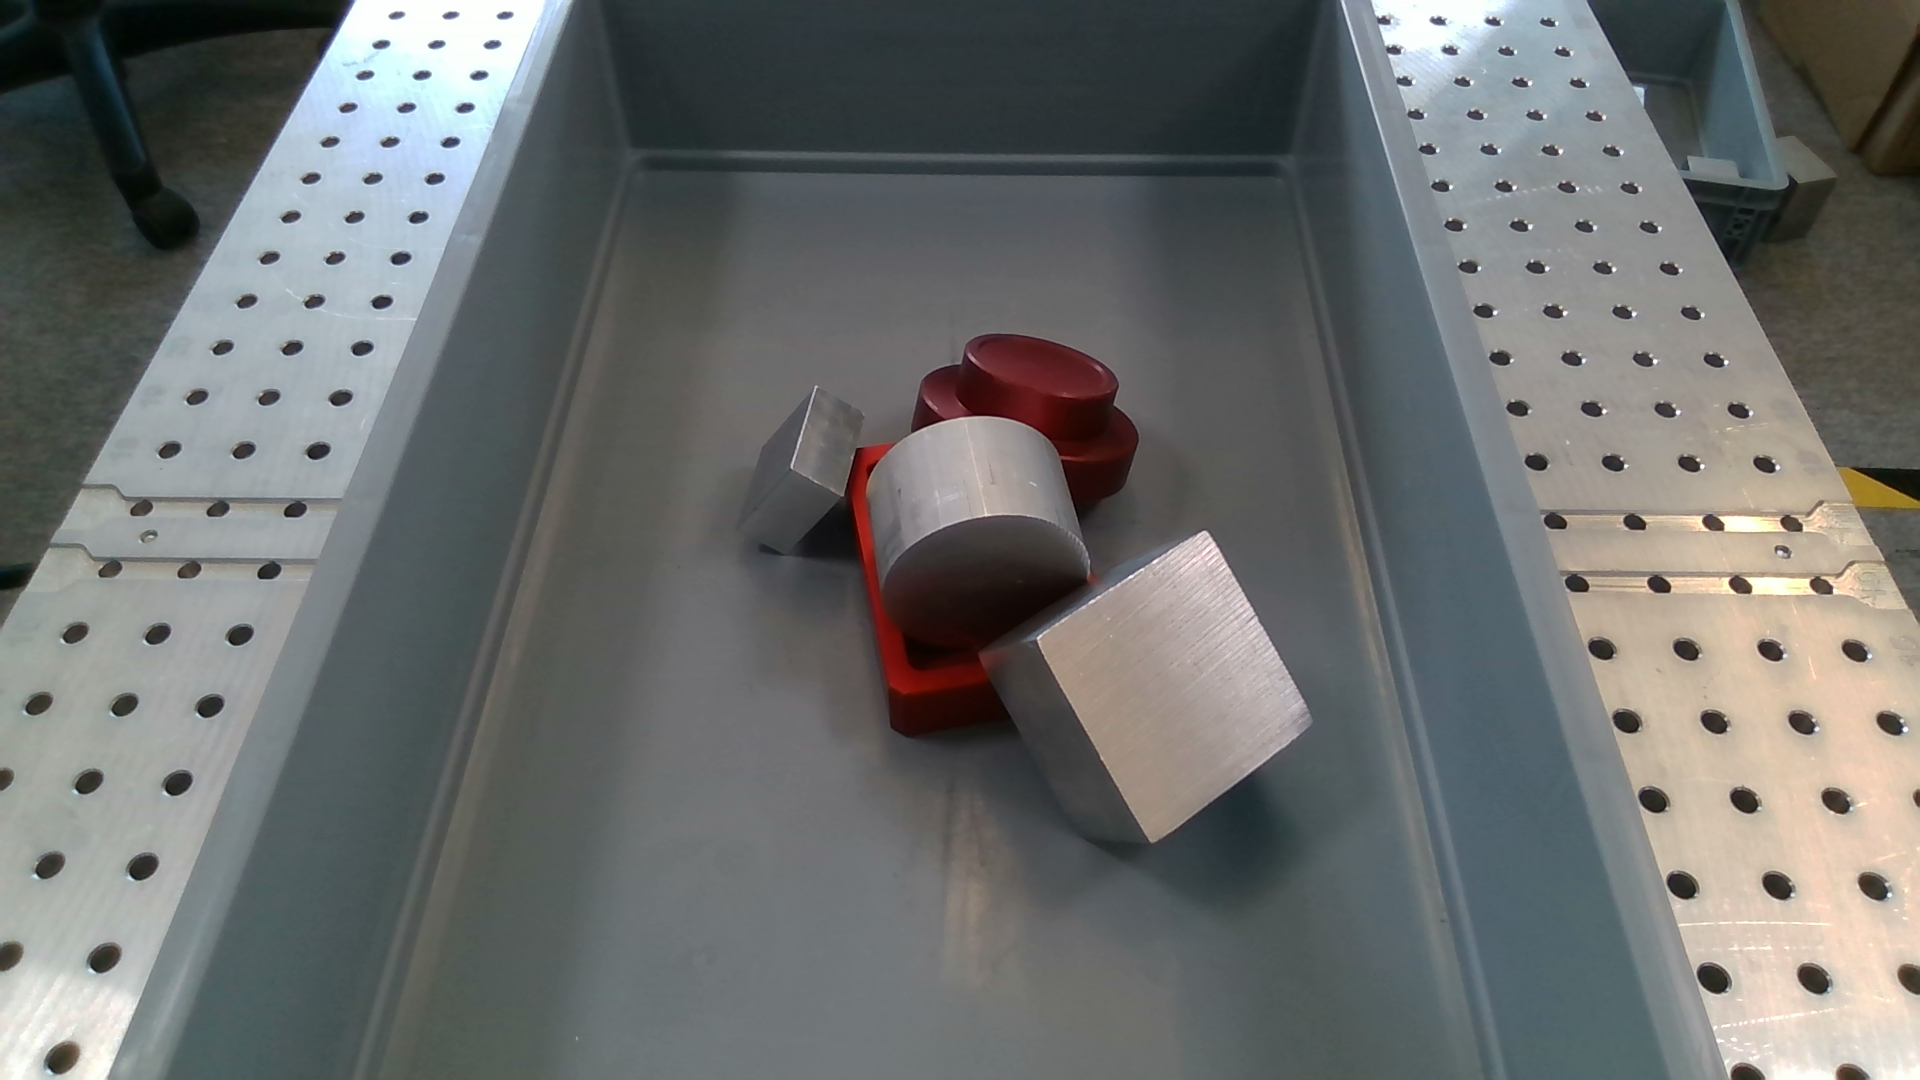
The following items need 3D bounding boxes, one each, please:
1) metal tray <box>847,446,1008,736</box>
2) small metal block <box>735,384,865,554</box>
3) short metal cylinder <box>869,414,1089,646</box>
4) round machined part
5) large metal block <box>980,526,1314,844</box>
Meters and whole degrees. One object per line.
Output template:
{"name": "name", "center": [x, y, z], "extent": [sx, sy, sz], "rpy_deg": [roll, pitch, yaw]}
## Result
{"name": "metal tray", "center": [0.005, 0.013, 0.574], "extent": [0.090, 0.030, 0.130], "rpy_deg": [-9, 51, -7]}
{"name": "small metal block", "center": [-0.069, -0.030, 0.592], "extent": [0.025, 0.050, 0.050], "rpy_deg": [29, 46, -21]}
{"name": "short metal cylinder", "center": [0.006, -0.003, 0.536], "extent": [0.080, 0.080, 0.050], "rpy_deg": [-7, 51, -6]}
{"name": "round machined part", "center": [0.030, -0.058, 0.599], "extent": [0.098, 0.042, 0.098], "rpy_deg": [12, 26, -6]}
{"name": "large metal block", "center": [0.067, 0.053, 0.500], "extent": [0.080, 0.050, 0.080], "rpy_deg": [-32, 93, -23]}
